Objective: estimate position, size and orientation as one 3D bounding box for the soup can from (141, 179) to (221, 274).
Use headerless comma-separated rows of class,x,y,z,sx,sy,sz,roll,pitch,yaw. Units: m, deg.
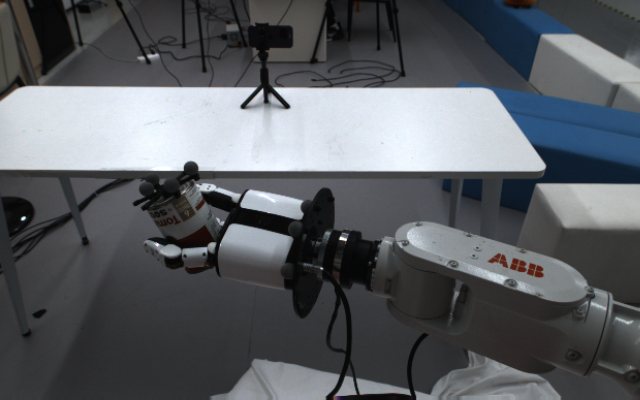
soup can,-0.163,0.034,0.611,0.067,0.101,0.067,-22,24,10
